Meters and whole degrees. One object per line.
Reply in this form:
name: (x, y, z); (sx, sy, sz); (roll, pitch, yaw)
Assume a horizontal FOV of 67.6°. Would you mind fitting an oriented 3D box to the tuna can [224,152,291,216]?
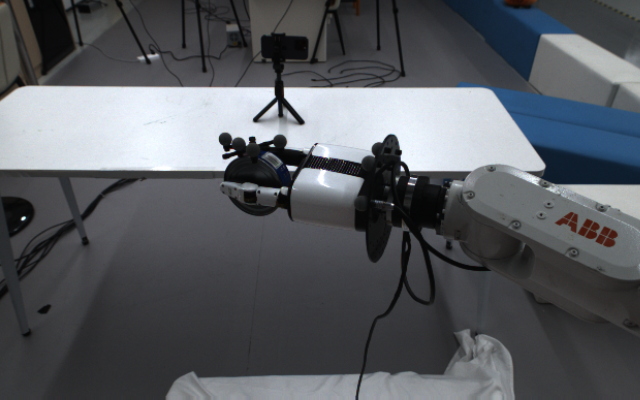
tuna can: (-0.081, -0.025, 0.645); (0.085, 0.085, 0.034); (14, 30, 16)
